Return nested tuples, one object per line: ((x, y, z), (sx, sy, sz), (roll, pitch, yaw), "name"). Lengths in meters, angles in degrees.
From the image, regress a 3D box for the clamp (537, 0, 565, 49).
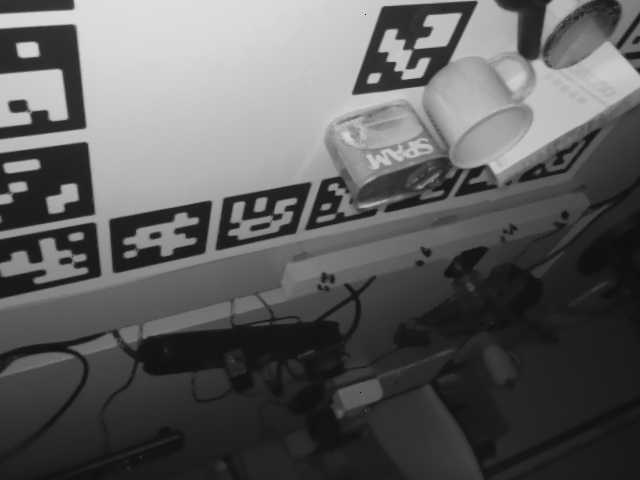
((0.208, -0.238, 0.593), (0.120, 0.036, 0.167), (-38, 144, 29), "clamp")

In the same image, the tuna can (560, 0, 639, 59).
((0.271, -0.218, 0.663), (0.086, 0.034, 0.085), (-19, 148, -12), "tuna can")

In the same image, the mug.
((0.181, -0.136, 0.671), (0.095, 0.081, 0.115), (6, 136, -41), "mug")

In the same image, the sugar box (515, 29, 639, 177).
((0.262, -0.149, 0.719), (0.175, 0.093, 0.045), (-31, 151, 12), "sugar box")

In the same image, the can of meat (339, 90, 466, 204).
((0.077, -0.092, 0.677), (0.103, 0.084, 0.057), (-16, 150, -13), "can of meat")
